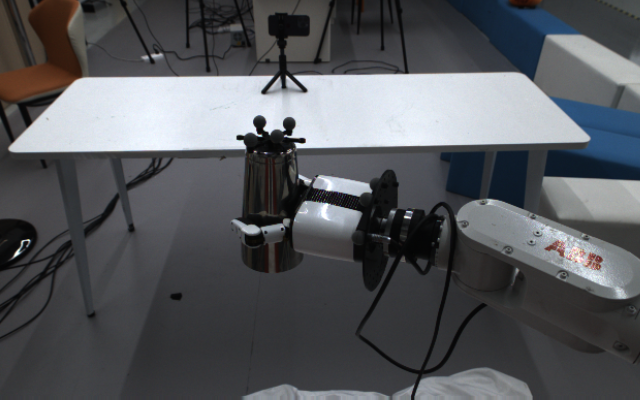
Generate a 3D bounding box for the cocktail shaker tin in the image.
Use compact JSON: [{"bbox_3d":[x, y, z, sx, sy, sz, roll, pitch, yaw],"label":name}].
[{"bbox_3d":[-0.065,0.004,0.666,0.093,0.170,0.093,2,28,-1],"label":"cocktail shaker tin"}]
